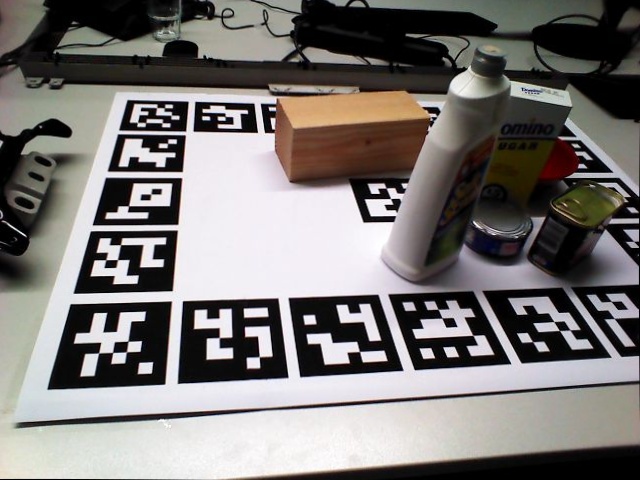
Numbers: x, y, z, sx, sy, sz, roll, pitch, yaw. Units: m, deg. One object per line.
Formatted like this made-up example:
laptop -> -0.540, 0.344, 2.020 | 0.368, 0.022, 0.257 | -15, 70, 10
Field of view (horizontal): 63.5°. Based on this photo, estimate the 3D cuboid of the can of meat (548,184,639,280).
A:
can of meat -> 0.330, -0.009, 0.626 | 0.101, 0.084, 0.058 | -23, 45, -31

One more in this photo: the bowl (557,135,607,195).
bowl -> 0.325, -0.112, 0.761 | 0.162, 0.055, 0.161 | 0, 41, -1

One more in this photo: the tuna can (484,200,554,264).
tuna can -> 0.241, -0.011, 0.645 | 0.086, 0.034, 0.085 | 3, 44, -3

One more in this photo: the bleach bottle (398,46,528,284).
bleach bottle -> 0.154, -0.073, 0.545 | 0.102, 0.252, 0.068 | -20, 46, -27

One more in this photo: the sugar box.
sugar box -> 0.261, -0.104, 0.648 | 0.093, 0.177, 0.045 | 11, 43, 10

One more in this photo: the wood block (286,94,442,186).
wood block -> 0.064, -0.148, 0.750 | 0.206, 0.090, 0.090 | -7, 46, -16
